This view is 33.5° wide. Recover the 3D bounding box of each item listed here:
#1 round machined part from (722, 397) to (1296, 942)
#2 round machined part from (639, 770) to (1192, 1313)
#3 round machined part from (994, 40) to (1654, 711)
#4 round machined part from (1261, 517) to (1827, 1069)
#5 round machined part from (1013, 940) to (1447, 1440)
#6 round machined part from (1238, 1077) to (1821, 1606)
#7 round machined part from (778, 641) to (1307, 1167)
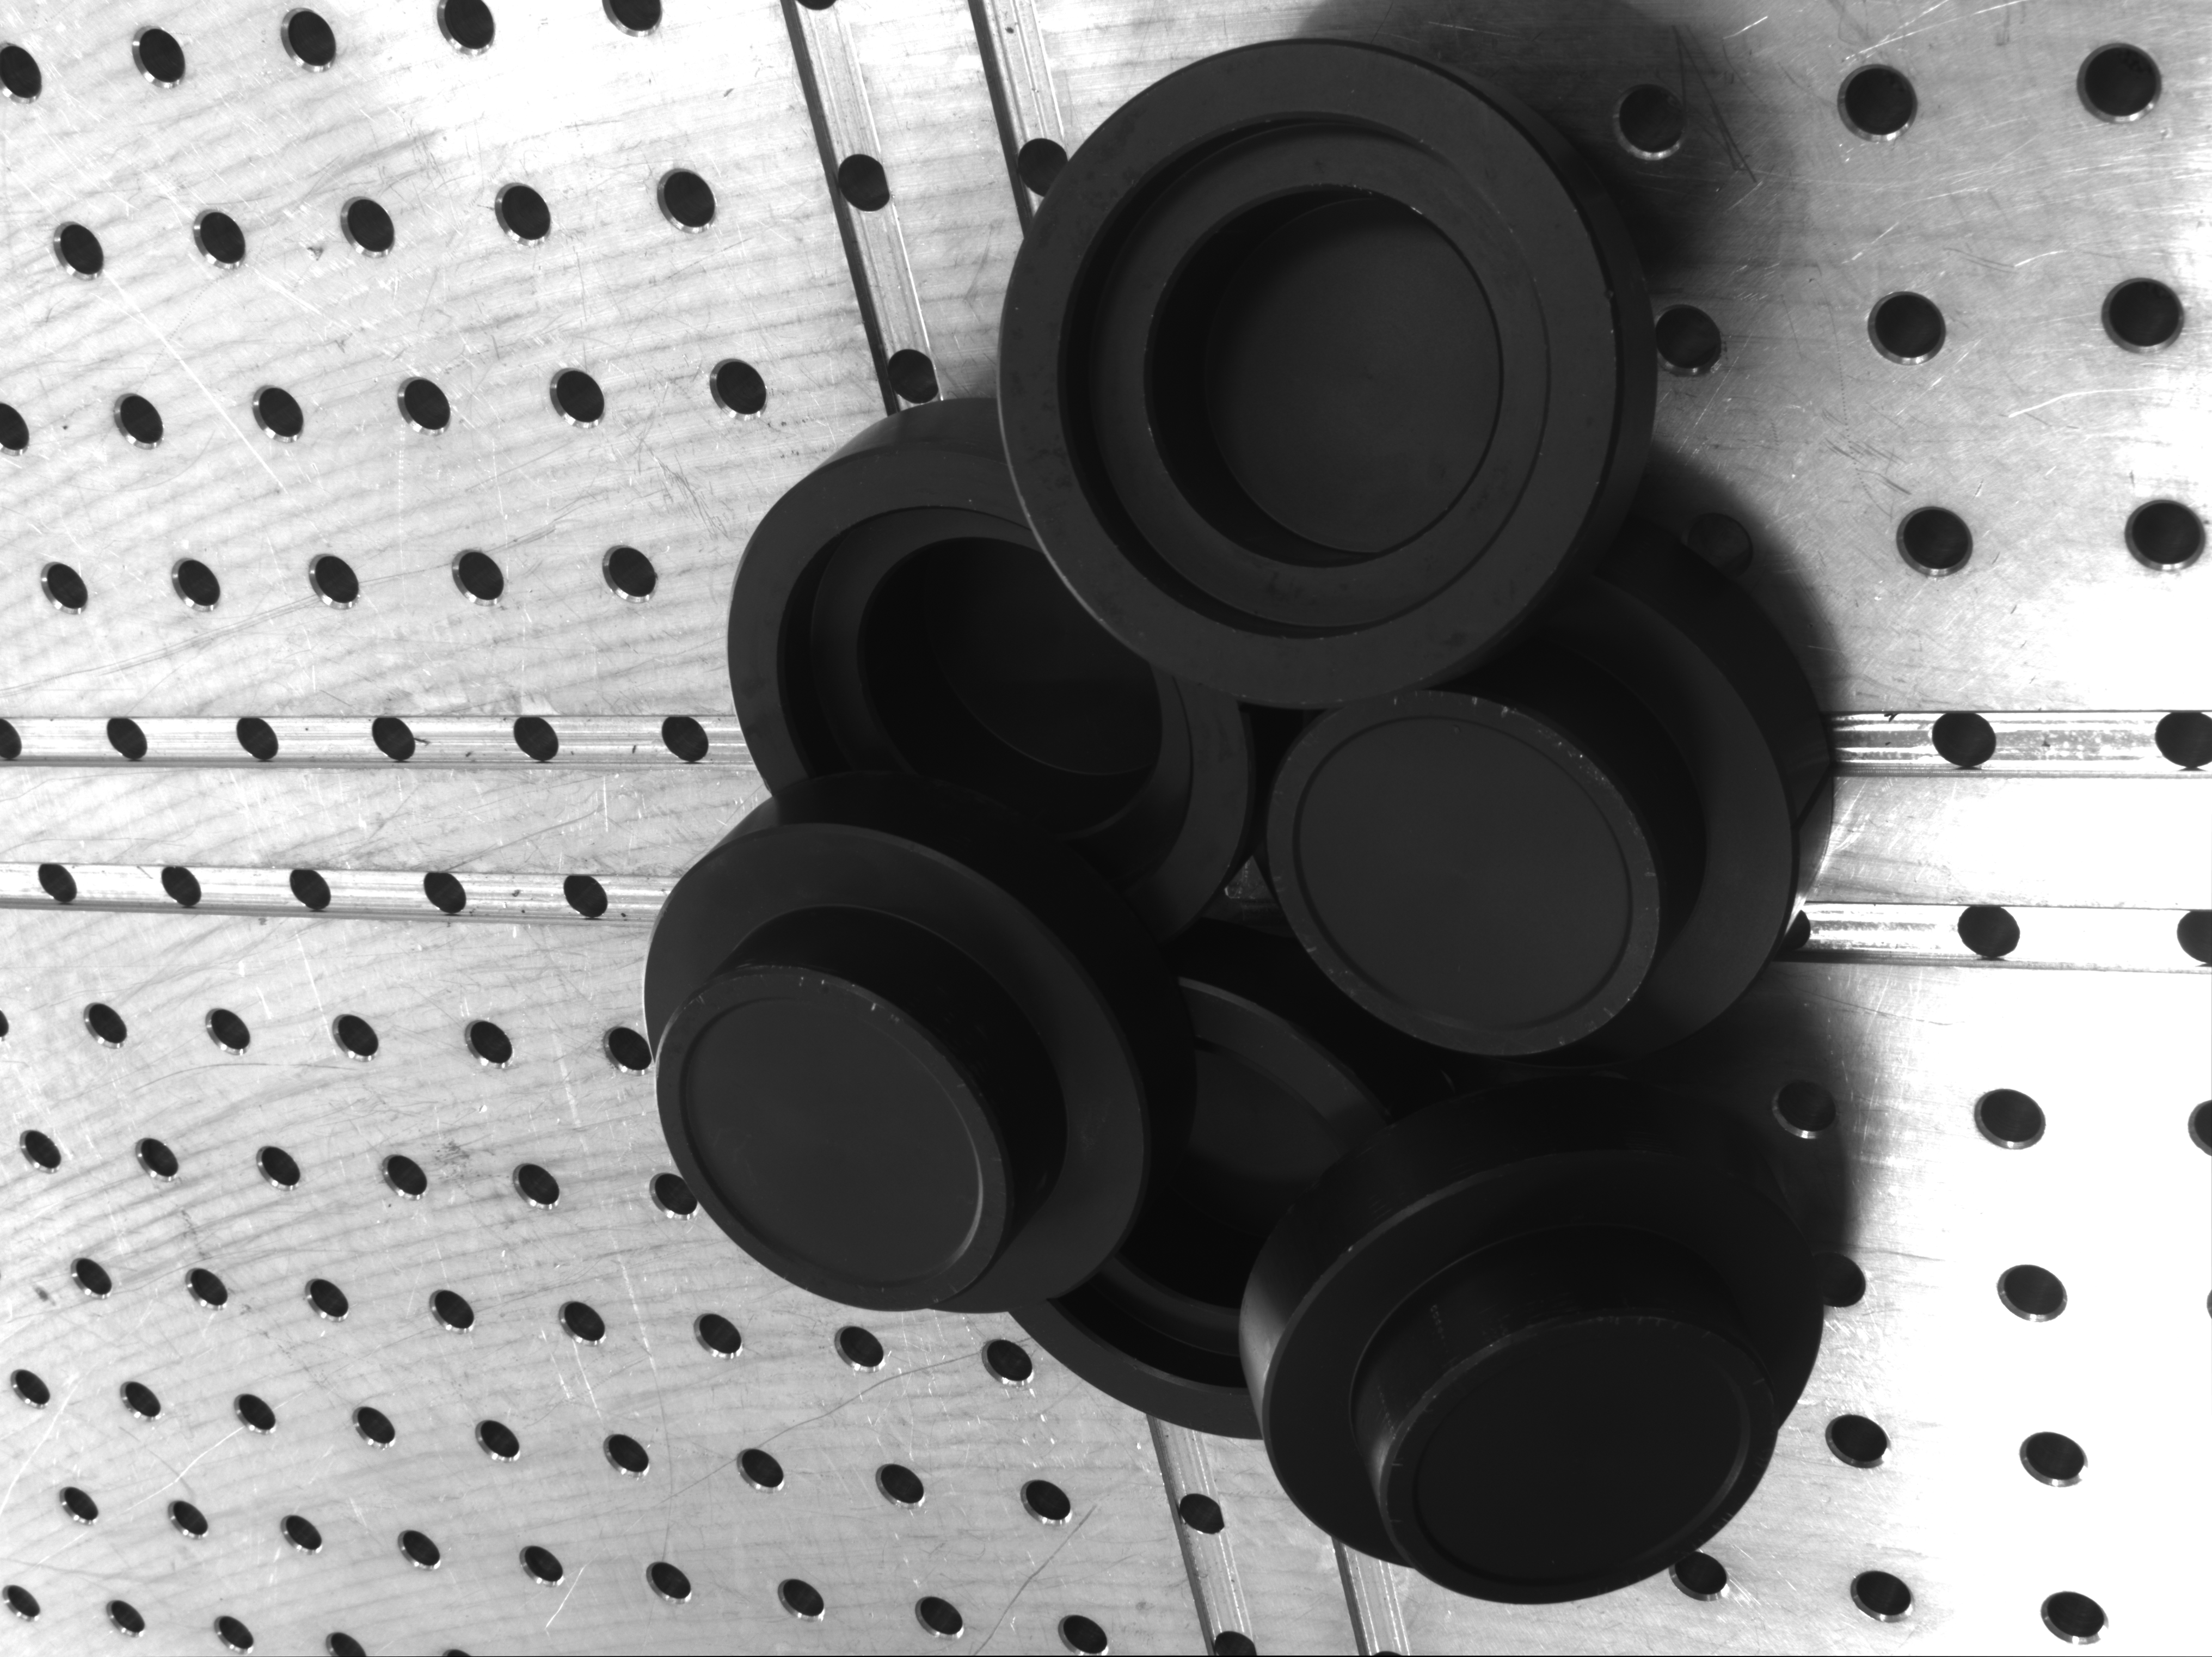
[{"bbox_3d":[-0.013,-0.028,0.625,0.098,0.042,0.098,13,124,21],"label":"round machined part"},{"bbox_3d":[-0.038,0.043,0.627,0.098,0.042,0.098,13,124,21],"label":"round machined part"},{"bbox_3d":[0.036,-0.069,0.559,0.098,0.042,0.098,3,98,22],"label":"round machined part"},{"bbox_3d":[0.064,-0.002,0.599,0.098,0.042,0.098,13,124,21],"label":"round machined part"},{"bbox_3d":[0.022,0.058,0.659,0.098,0.042,0.098,13,124,21],"label":"round machined part"},{"bbox_3d":[0.074,0.093,0.621,0.098,0.042,0.098,-6,127,-8],"label":"round machined part"},{"bbox_3d":[-0.009,0.011,0.646,0.098,0.042,0.098,13,124,21],"label":"round machined part"}]
